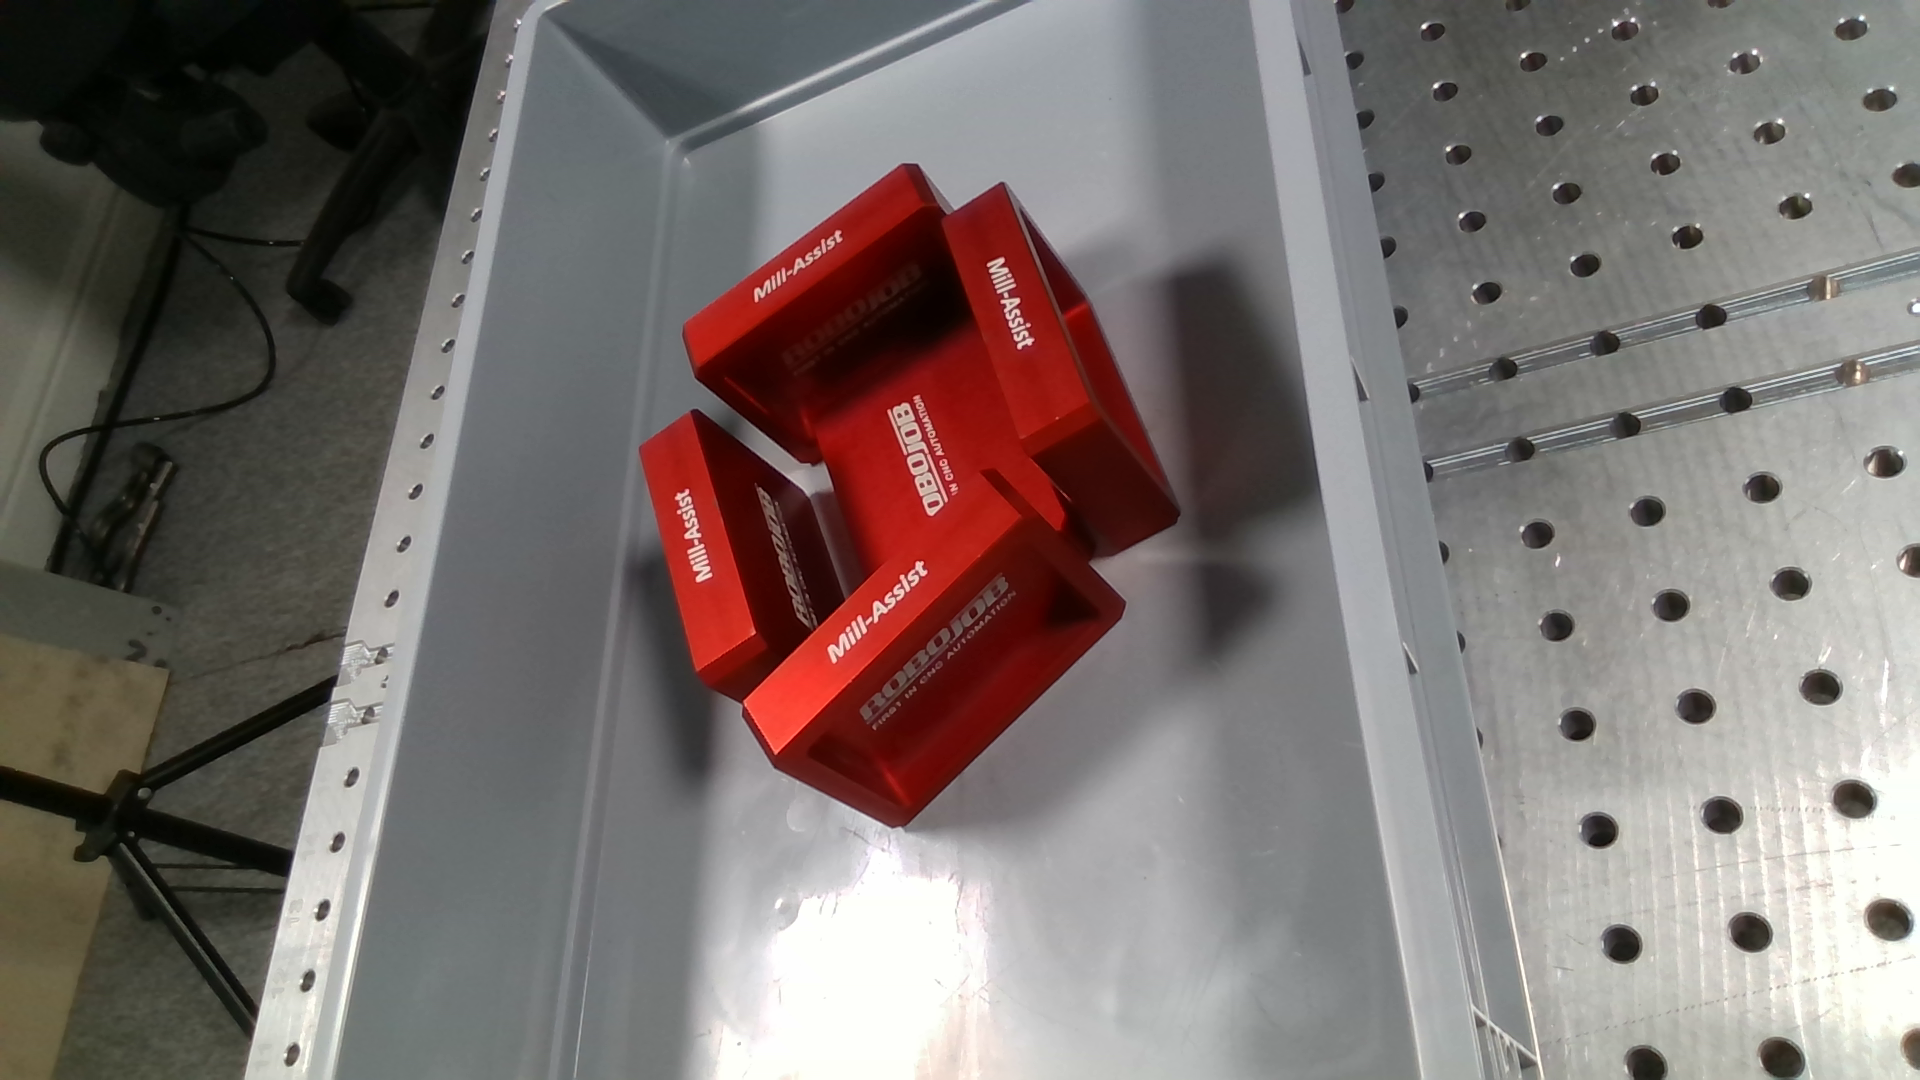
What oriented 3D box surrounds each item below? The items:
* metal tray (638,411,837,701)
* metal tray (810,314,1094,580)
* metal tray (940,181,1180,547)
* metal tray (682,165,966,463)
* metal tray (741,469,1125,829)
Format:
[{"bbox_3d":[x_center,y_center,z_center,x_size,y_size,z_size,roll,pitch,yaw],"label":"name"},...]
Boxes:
[{"bbox_3d":[-0.086,0.016,0.586,0.030,0.090,0.130,-32,53,13],"label":"metal tray"},{"bbox_3d":[-0.007,-0.026,0.597,0.090,0.030,0.130,-32,53,14],"label":"metal tray"},{"bbox_3d":[0.040,-0.071,0.554,0.030,0.090,0.130,-29,54,16],"label":"metal tray"},{"bbox_3d":[-0.048,-0.098,0.623,0.130,0.090,0.030,-33,53,13],"label":"metal tray"},{"bbox_3d":[-0.008,0.045,0.523,0.130,0.090,0.030,-45,50,4],"label":"metal tray"}]
